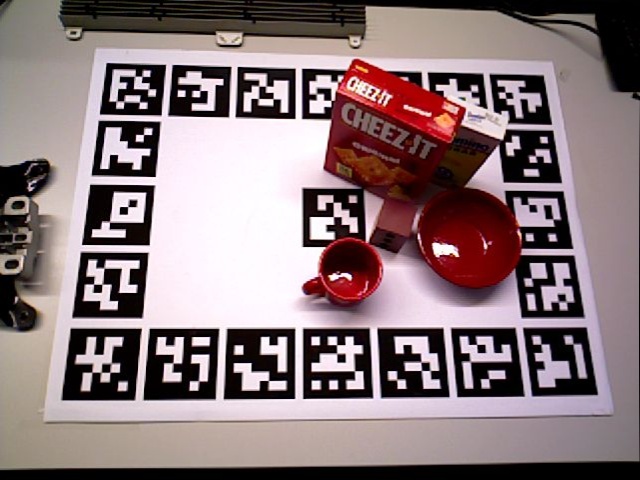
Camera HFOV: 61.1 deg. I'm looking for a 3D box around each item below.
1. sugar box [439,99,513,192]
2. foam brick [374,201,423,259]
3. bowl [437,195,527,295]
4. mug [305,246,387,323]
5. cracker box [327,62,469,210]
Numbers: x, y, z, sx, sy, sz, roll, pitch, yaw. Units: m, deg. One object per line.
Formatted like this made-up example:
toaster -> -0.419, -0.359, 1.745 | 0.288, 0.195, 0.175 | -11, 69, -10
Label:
sugar box -> 0.214, -0.137, 0.802 | 0.092, 0.179, 0.045 | 21, 69, 4
foam brick -> 0.116, -0.013, 0.812 | 0.052, 0.079, 0.051 | 16, 69, 2
bowl -> 0.238, 0.018, 0.806 | 0.160, 0.056, 0.160 | 1, 72, -4
mug -> 0.036, 0.069, 0.769 | 0.116, 0.083, 0.092 | -8, 63, -5
cracker box -> 0.106, -0.134, 0.775 | 0.164, 0.217, 0.071 | 29, 68, 5
